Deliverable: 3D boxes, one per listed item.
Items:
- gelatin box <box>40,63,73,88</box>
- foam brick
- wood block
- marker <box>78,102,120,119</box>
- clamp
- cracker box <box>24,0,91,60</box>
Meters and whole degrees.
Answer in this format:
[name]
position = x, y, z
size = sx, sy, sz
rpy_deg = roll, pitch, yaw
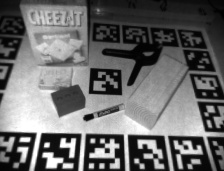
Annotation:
[gelatin box]
position = -0.165, -0.030, 0.653
size = 0.089, 0.030, 0.073
rpy_deg = 2, 59, -6
[foam brick]
position = -0.123, 0.033, 0.602
size = 0.078, 0.051, 0.052
rpy_deg = -19, 63, -17
[wood block]
position = 0.129, 0.006, 0.633
size = 0.089, 0.091, 0.207
rpy_deg = 31, 57, 16
[marker]
position = -0.035, 0.071, 0.607
size = 0.122, 0.020, 0.019
rpy_deg = -15, 62, -16
[clamp]
position = 0.089, -0.109, 0.728
size = 0.204, 0.037, 0.164
rpy_deg = -25, 65, -20
[cracker box]
position = -0.142, -0.167, 0.625
size = 0.165, 0.214, 0.071
rpy_deg = 0, 56, -8
